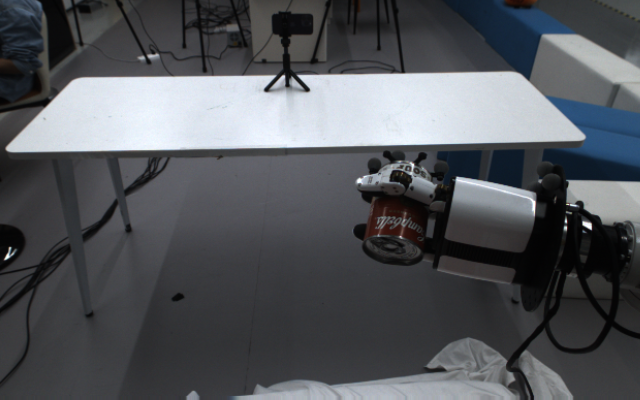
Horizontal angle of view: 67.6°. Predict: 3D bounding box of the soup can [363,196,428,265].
[{"bbox_3d":[0.091,0.014,0.548,0.067,0.067,0.101,9,58,10],"label":"soup can"}]
